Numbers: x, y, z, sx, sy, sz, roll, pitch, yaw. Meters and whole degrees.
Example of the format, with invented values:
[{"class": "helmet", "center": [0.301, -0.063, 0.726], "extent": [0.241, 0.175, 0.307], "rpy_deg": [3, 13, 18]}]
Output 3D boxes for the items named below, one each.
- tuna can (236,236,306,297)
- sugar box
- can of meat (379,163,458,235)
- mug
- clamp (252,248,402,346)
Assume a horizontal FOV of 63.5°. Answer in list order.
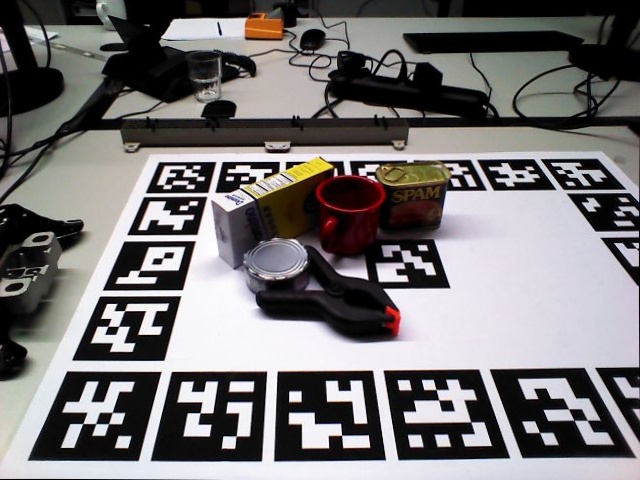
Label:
[{"class": "tuna can", "center": [-0.060, 0.035, 0.646], "extent": [0.086, 0.034, 0.085], "rpy_deg": [0, 41, 0]}, {"class": "sugar box", "center": [-0.058, -0.037, 0.699], "extent": [0.175, 0.093, 0.045], "rpy_deg": [-26, 44, -30]}, {"class": "can of meat", "center": [0.134, -0.057, 0.730], "extent": [0.102, 0.084, 0.057], "rpy_deg": [-5, 38, -8]}, {"class": "mug", "center": [0.035, -0.031, 0.686], "extent": [0.093, 0.082, 0.116], "rpy_deg": [17, 44, 18]}, {"class": "clamp", "center": [0.018, 0.074, 0.607], "extent": [0.166, 0.037, 0.121], "rpy_deg": [27, 42, 23]}]
